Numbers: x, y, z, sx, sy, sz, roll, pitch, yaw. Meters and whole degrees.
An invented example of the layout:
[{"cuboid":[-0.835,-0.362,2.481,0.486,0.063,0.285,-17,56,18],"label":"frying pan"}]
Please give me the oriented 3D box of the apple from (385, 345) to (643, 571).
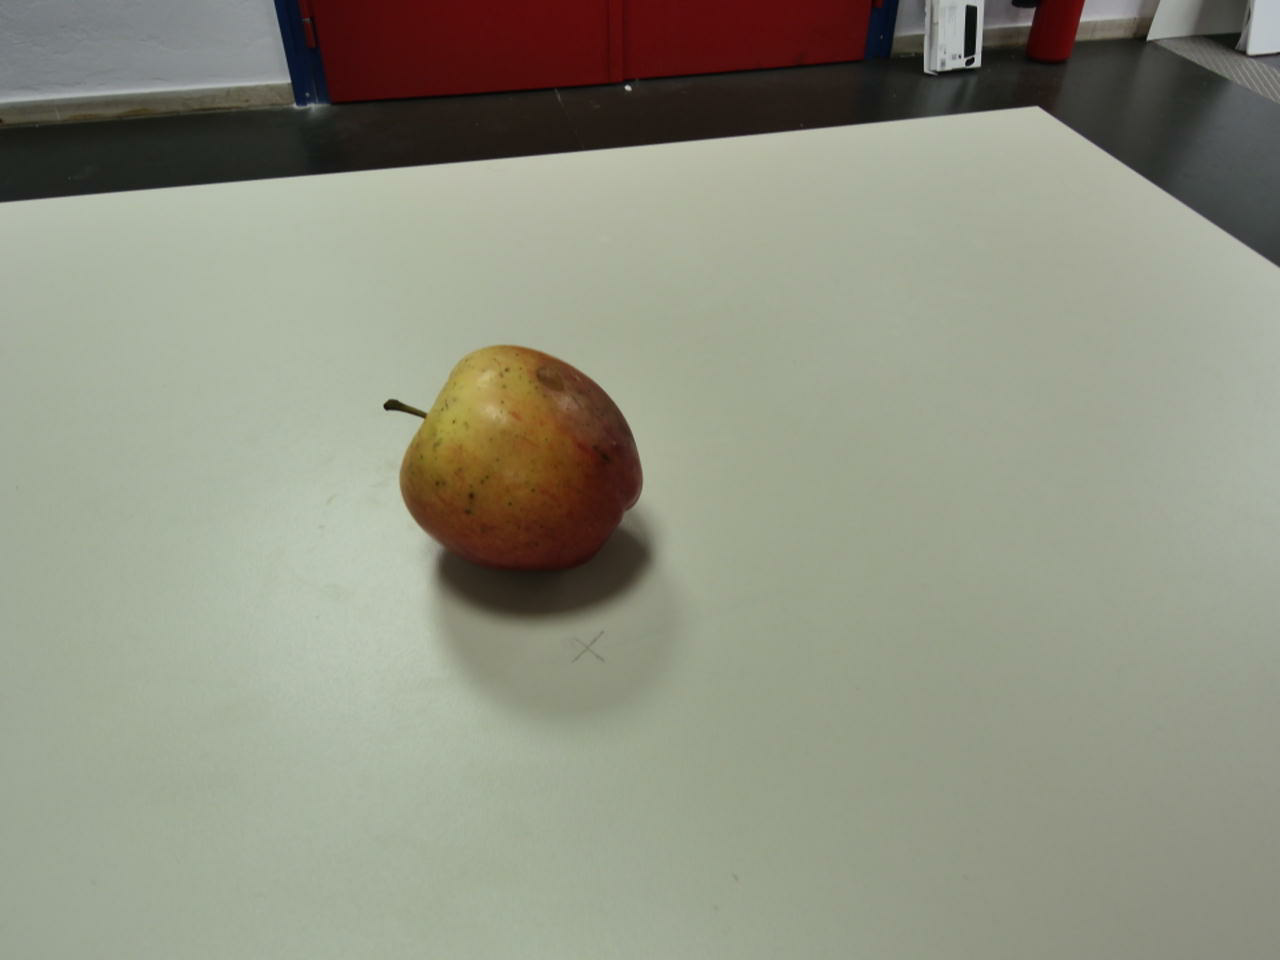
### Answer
[{"cuboid":[-0.048,-0.007,0.383,0.093,0.084,0.086,29,46,31],"label":"apple"}]
